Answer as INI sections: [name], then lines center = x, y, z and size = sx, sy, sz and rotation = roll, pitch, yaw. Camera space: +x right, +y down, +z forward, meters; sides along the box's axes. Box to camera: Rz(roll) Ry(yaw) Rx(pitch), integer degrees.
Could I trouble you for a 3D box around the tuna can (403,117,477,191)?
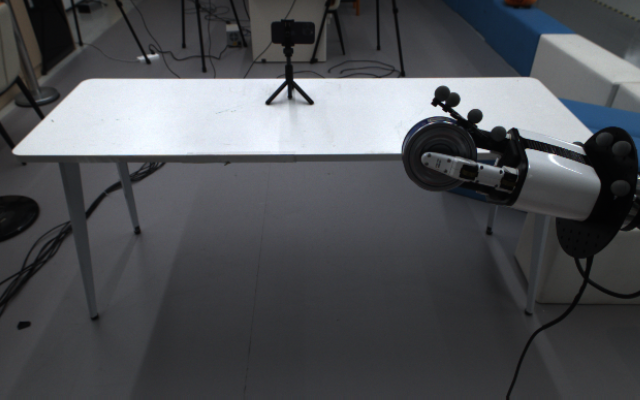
[tuna can]
center = 0.142, -0.056, 0.575
size = 0.085, 0.085, 0.034
rotation = 6, 19, 6
